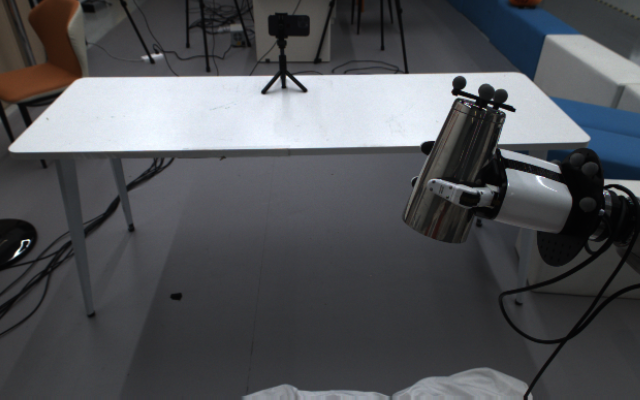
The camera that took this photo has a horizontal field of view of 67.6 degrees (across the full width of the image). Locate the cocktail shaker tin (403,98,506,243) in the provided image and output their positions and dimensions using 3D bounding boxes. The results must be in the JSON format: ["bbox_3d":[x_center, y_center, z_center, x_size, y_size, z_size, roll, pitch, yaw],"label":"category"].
[{"bbox_3d":[0.179,-0.041,0.633,0.093,0.170,0.093,14,19,-5],"label":"cocktail shaker tin"}]
